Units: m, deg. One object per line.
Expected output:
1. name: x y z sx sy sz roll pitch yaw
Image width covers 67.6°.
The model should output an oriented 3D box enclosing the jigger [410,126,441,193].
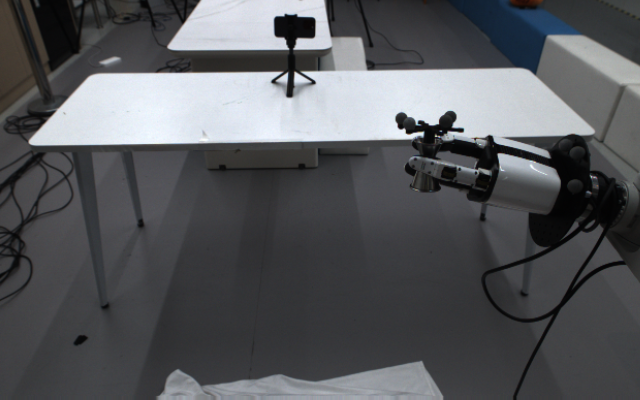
1. jigger: 0.147 -0.050 0.673 0.043 0.071 0.043 0 21 0
